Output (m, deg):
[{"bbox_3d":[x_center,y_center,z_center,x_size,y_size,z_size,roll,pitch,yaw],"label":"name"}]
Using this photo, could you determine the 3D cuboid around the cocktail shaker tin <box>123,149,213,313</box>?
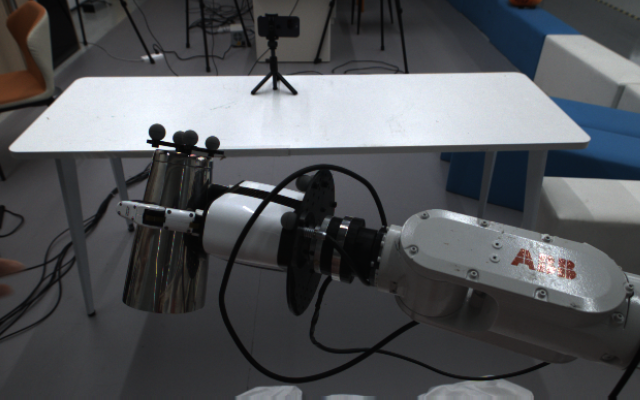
[{"bbox_3d":[-0.165,0.034,0.552,0.093,0.170,0.093,9,3,0],"label":"cocktail shaker tin"}]
